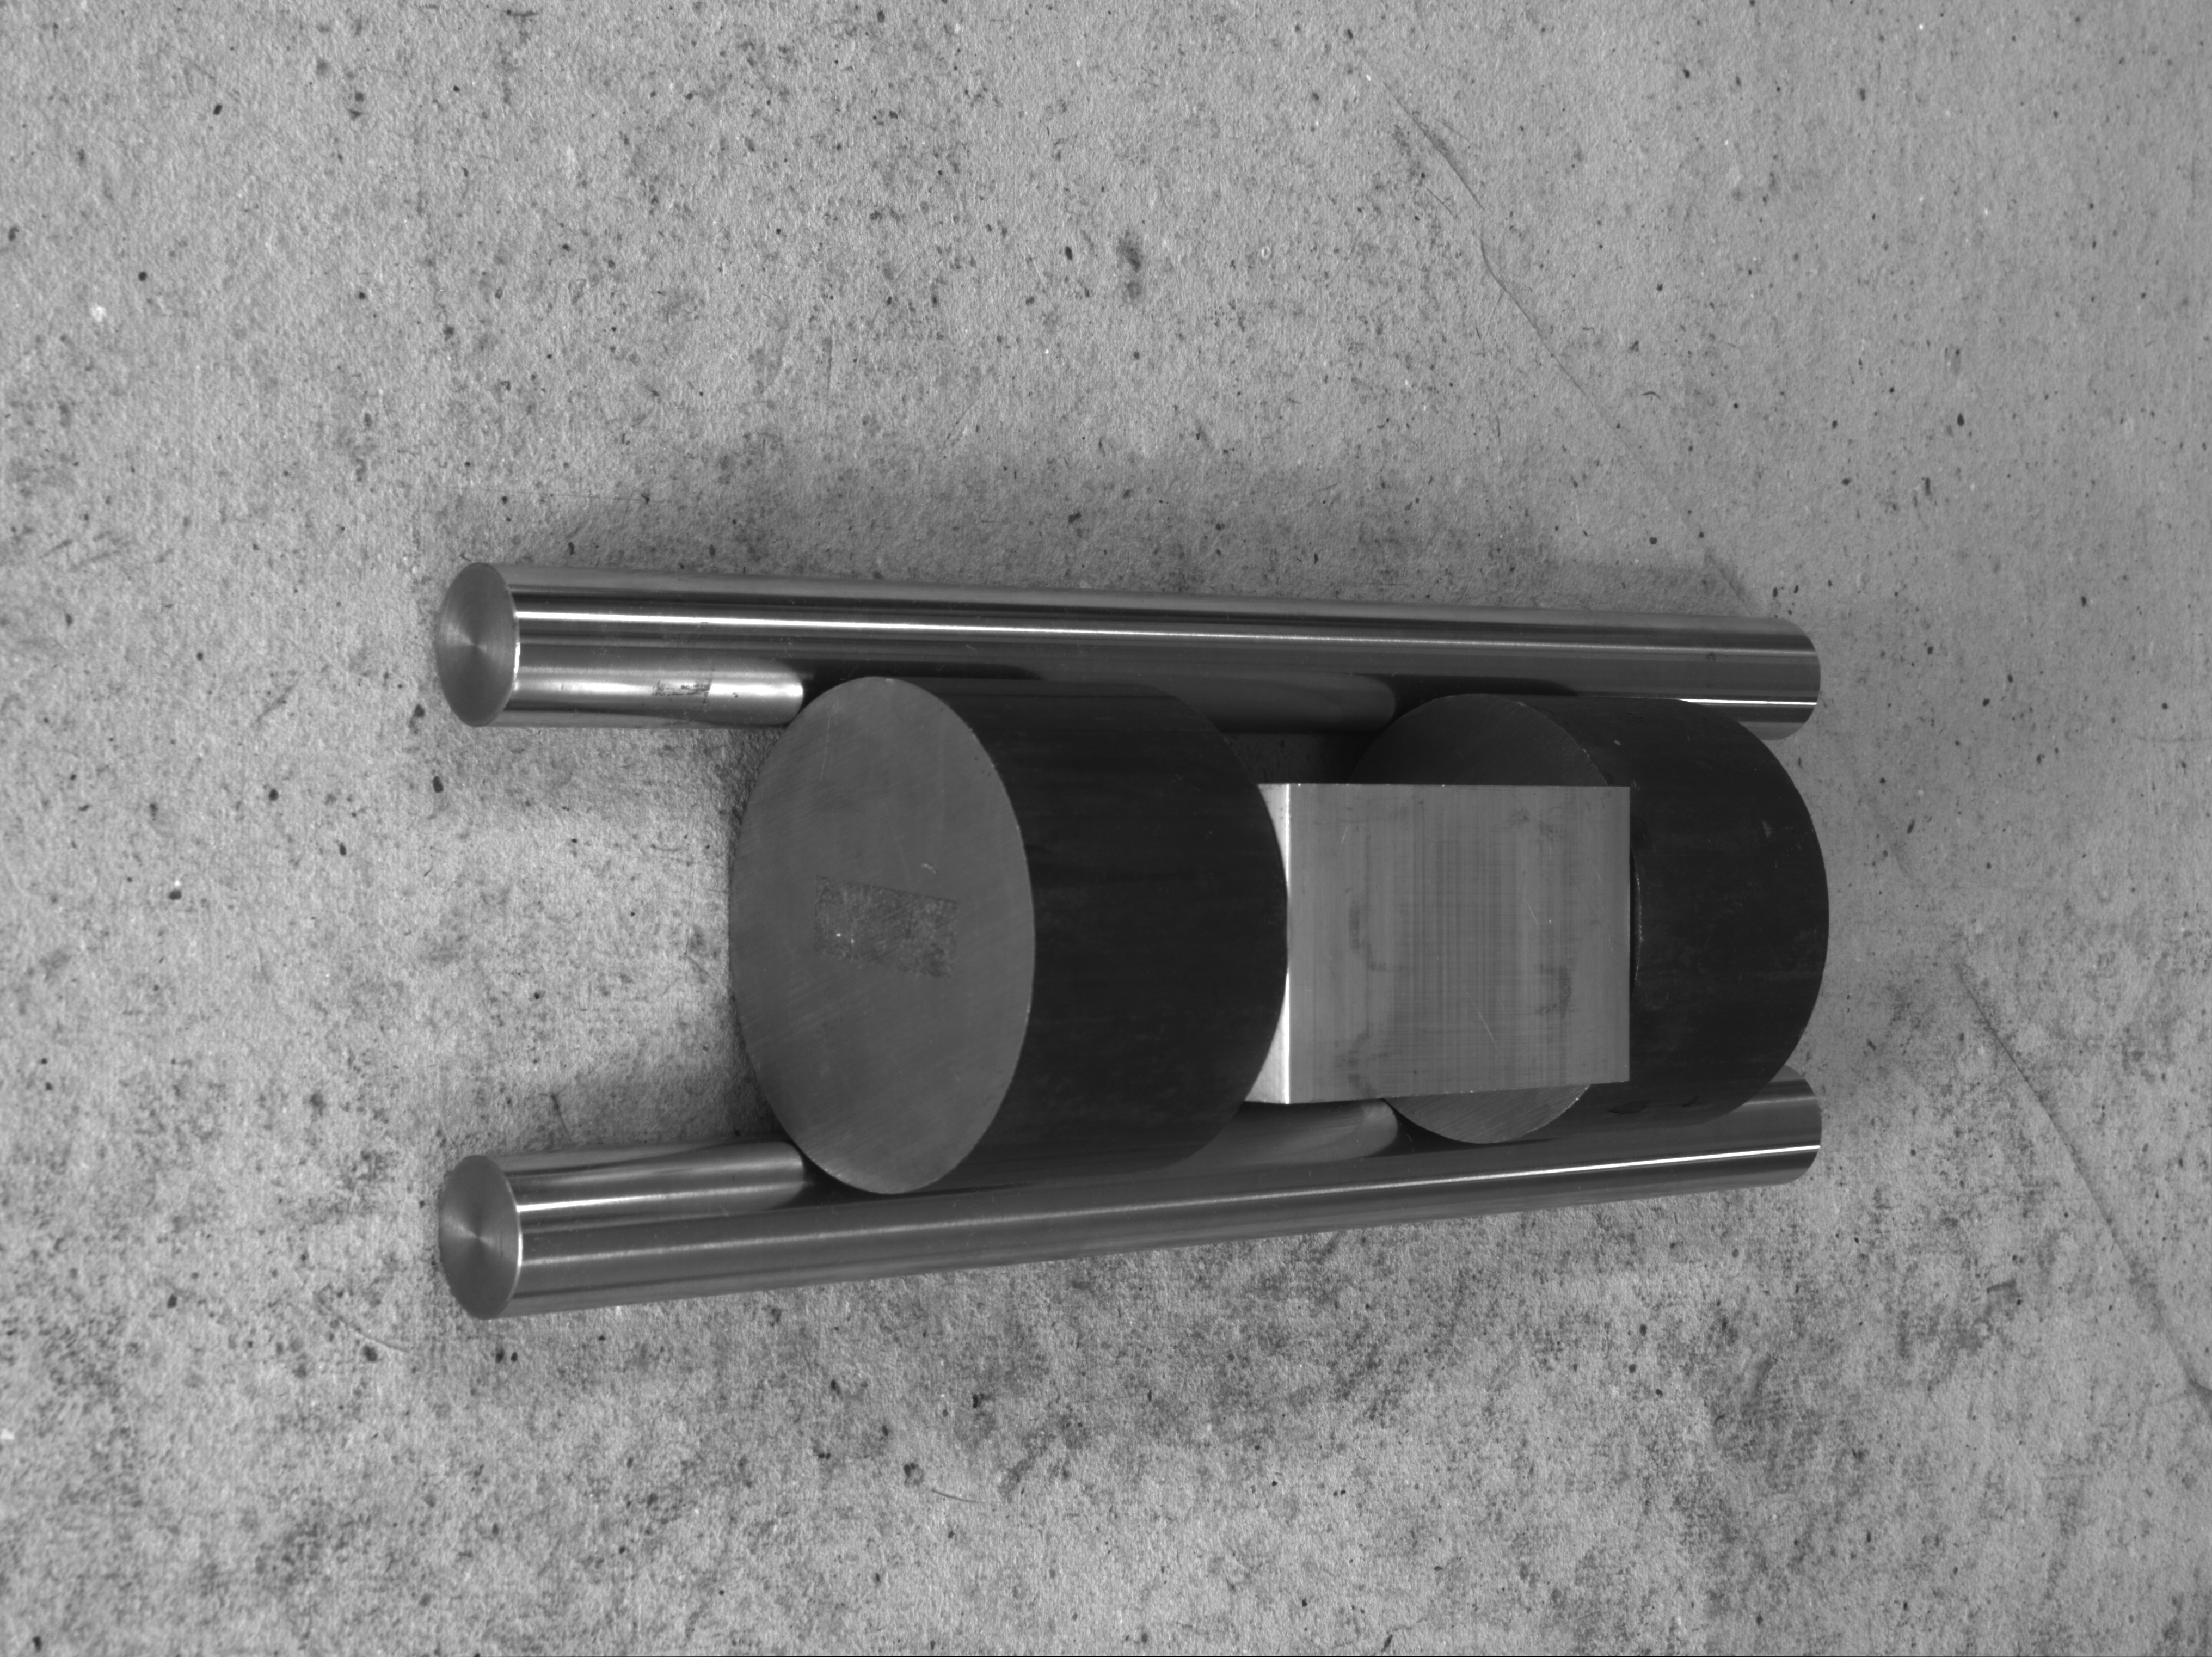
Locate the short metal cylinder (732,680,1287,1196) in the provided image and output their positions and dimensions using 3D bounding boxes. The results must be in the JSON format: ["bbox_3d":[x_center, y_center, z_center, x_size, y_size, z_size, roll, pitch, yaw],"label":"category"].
[{"bbox_3d":[-0.017,0.017,0.587,0.050,0.080,0.080,-1,91,-40],"label":"short metal cylinder"}]

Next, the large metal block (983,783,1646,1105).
[{"bbox_3d":[0.035,0.018,0.627,0.080,0.080,0.050,0,90,-40],"label":"large metal block"}]

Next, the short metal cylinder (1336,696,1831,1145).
[{"bbox_3d":[0.085,0.016,0.670,0.050,0.080,0.080,-1,91,-40],"label":"short metal cylinder"}]

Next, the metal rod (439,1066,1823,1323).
[{"bbox_3d":[0.021,0.061,0.654,0.301,0.025,0.025,-1,90,-40],"label":"metal rod"}]

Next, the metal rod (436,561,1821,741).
[{"bbox_3d":[0.020,-0.029,0.654,0.301,0.025,0.025,-1,90,-40],"label":"metal rod"}]
